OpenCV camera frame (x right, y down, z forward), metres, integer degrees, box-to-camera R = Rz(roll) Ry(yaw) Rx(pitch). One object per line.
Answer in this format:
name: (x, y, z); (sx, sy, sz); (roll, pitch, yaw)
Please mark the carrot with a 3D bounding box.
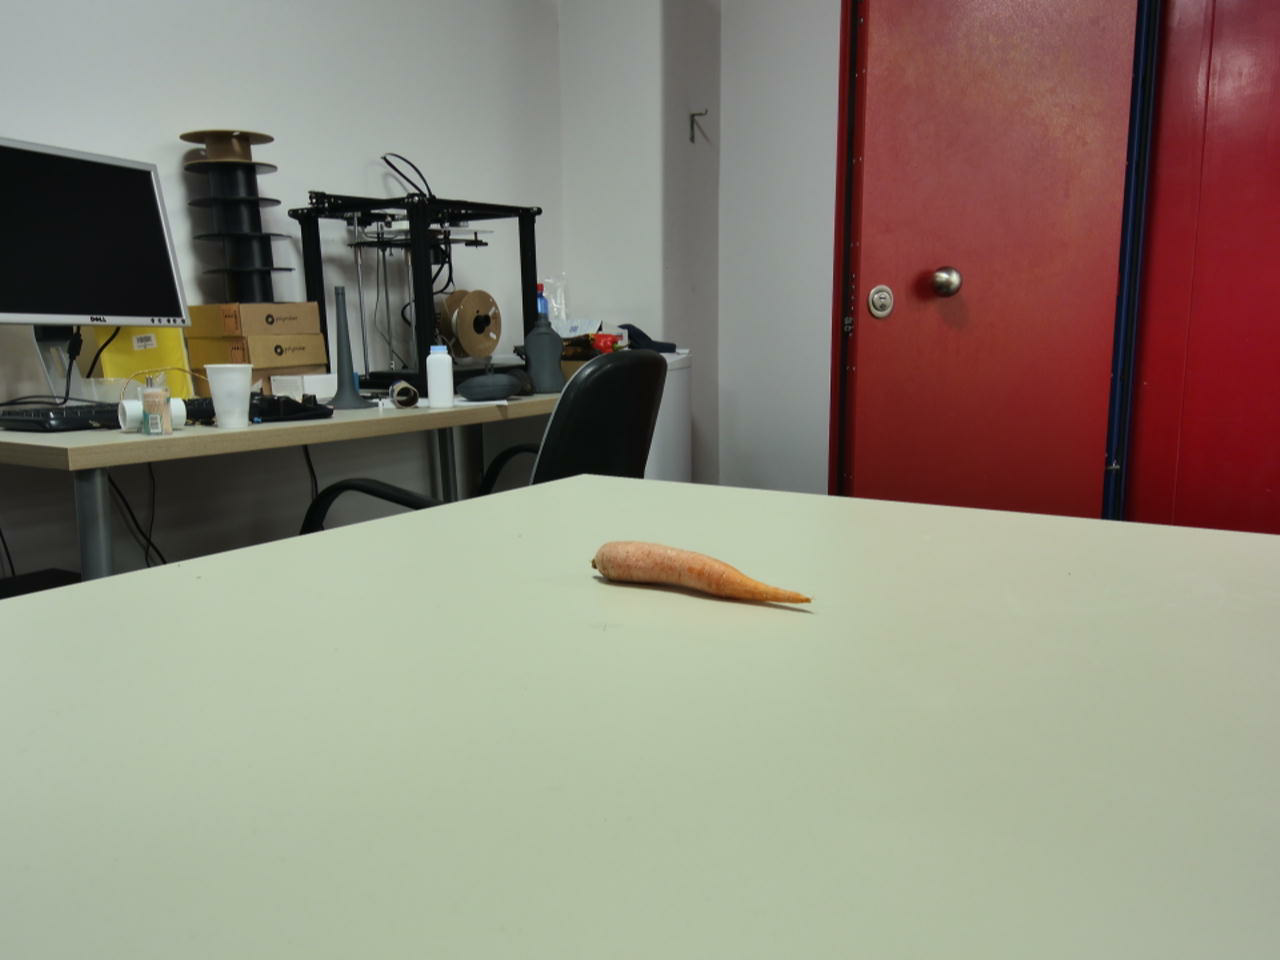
carrot: (0.035, 0.058, 0.634); (0.163, 0.029, 0.031); (6, 9, 34)
